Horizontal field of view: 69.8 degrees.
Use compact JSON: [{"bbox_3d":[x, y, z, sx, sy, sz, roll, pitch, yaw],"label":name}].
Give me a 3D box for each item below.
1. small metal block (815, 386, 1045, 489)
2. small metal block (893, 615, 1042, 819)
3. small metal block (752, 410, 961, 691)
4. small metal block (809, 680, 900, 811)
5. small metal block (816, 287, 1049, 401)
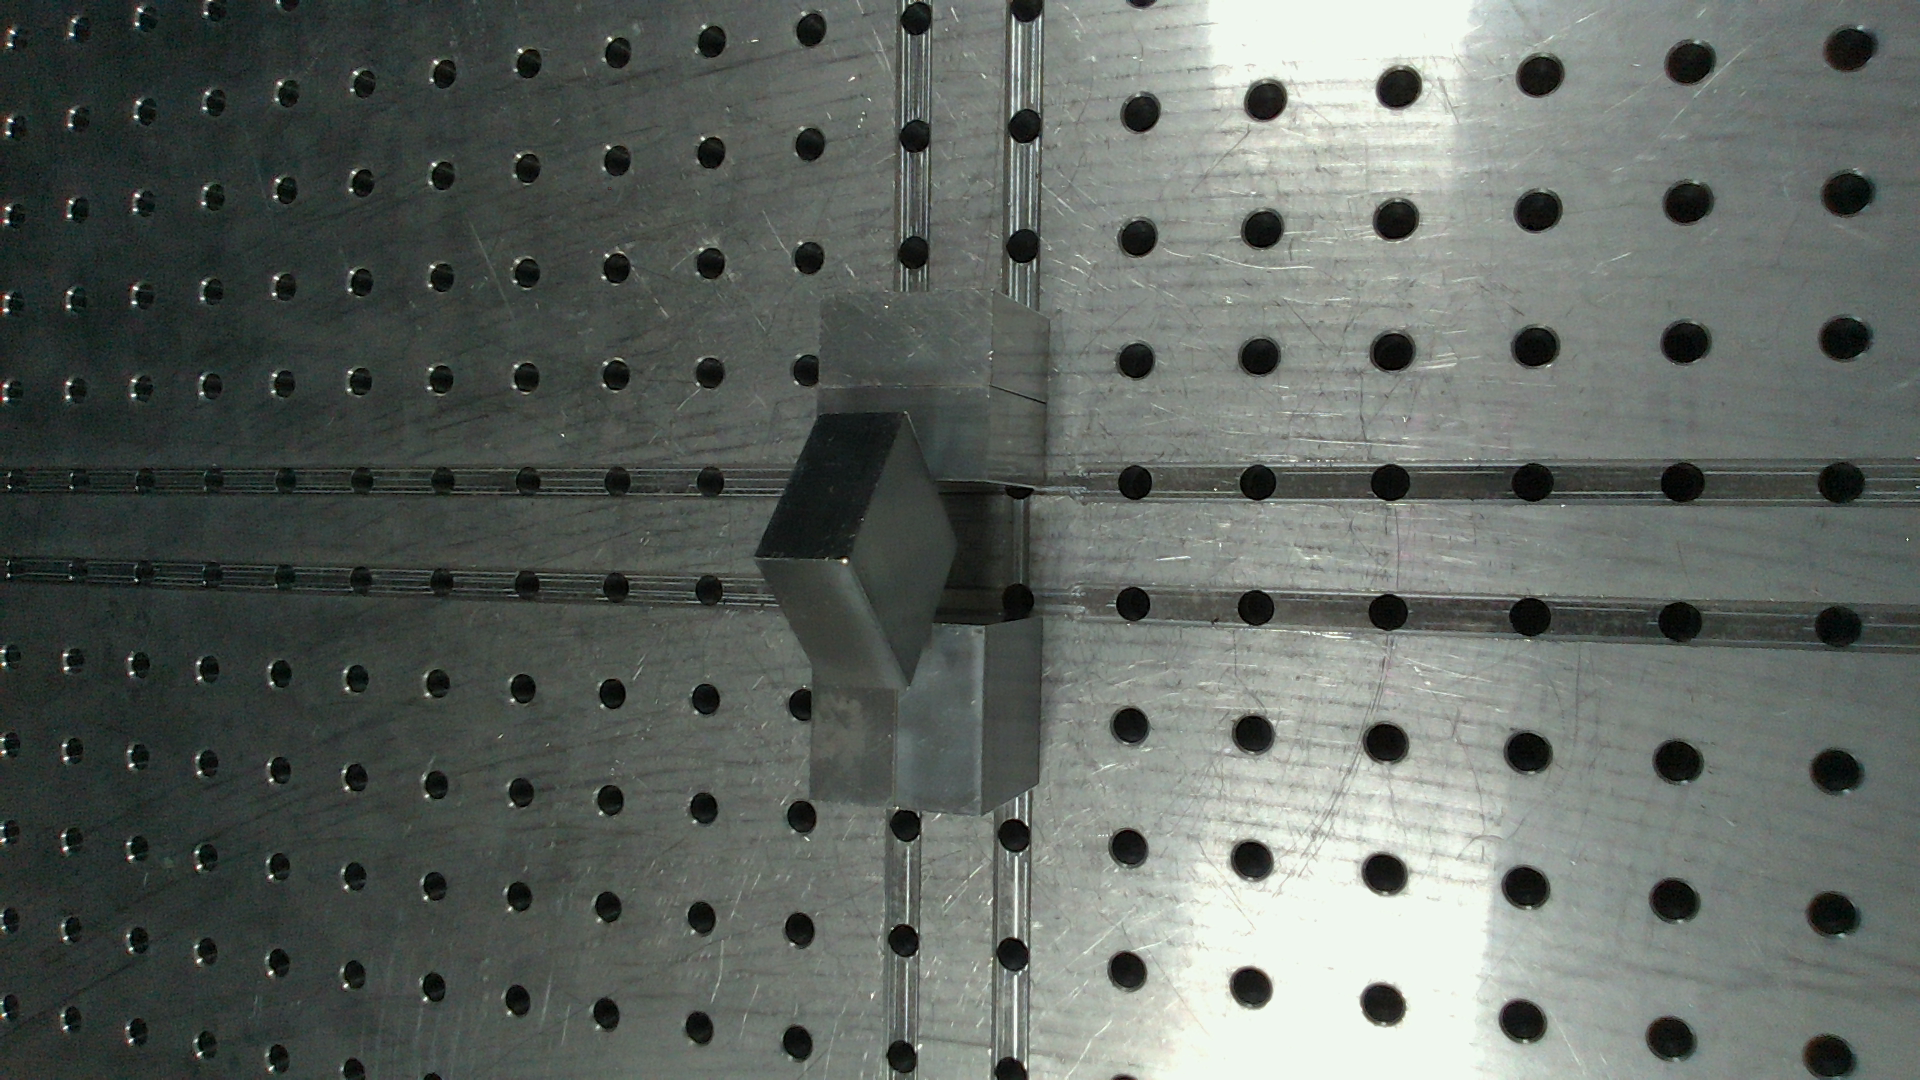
[{"bbox_3d":[-0.007,-0.028,0.387,0.050,0.050,0.025,2,91,20],"label":"small metal block"},{"bbox_3d":[0.003,0.047,0.383,0.025,0.050,0.050,1,91,20],"label":"small metal block"},{"bbox_3d":[-0.024,0.003,0.350,0.025,0.050,0.050,0,48,21],"label":"small metal block"},{"bbox_3d":[-0.020,0.047,0.392,0.025,0.050,0.050,1,91,20],"label":"small metal block"},{"bbox_3d":[-0.007,-0.054,0.387,0.050,0.050,0.025,2,91,20],"label":"small metal block"}]
